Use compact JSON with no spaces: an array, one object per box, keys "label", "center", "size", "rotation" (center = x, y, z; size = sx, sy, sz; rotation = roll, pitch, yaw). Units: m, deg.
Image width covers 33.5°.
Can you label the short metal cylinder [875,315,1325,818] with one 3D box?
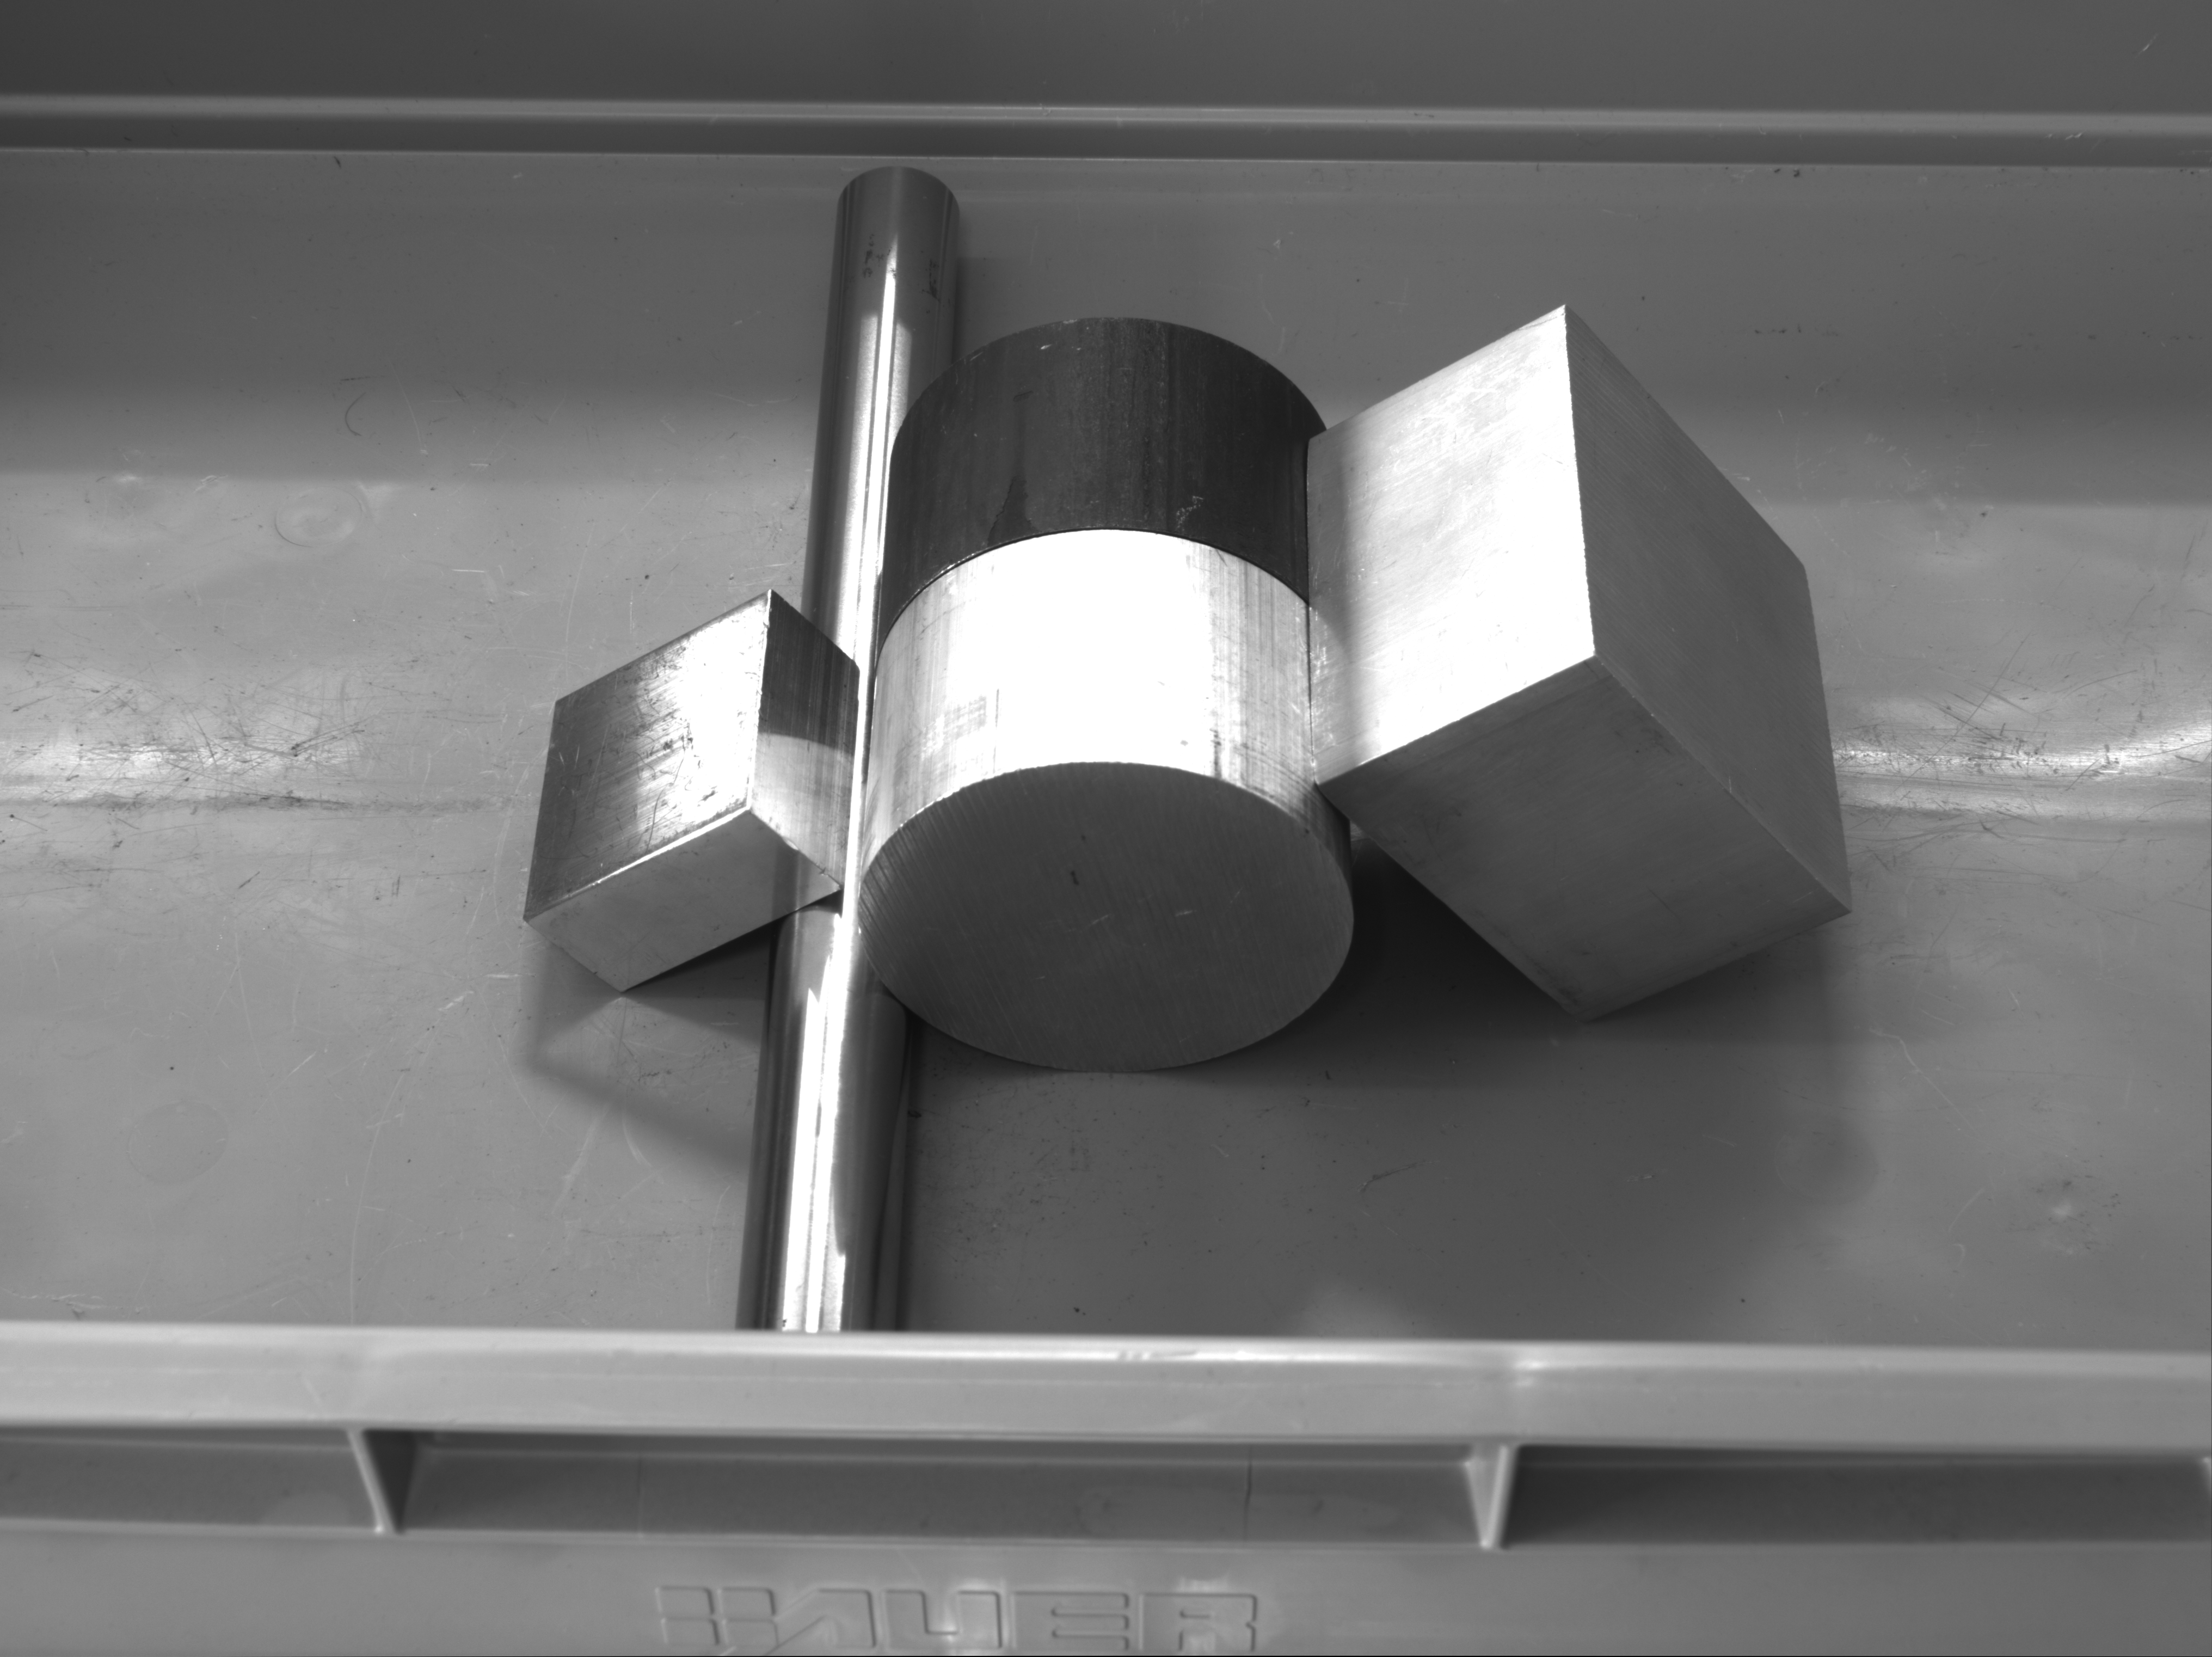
[{"label":"short metal cylinder","center":[0.001,-0.043,0.640],"size":[0.080,0.080,0.050],"rotation":[0,50,1]}]

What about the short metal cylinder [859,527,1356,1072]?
[{"label":"short metal cylinder","center":[0.001,-0.004,0.608],"size":[0.080,0.080,0.050],"rotation":[0,50,1]}]

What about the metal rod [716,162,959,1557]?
[{"label":"metal rod","center":[-0.044,-0.011,0.649],"size":[0.025,0.025,0.300],"rotation":[0,50,1]}]

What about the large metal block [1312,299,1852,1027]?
[{"label":"large metal block","center":[0.079,-0.027,0.618],"size":[0.050,0.080,0.080],"rotation":[-26,43,29]}]

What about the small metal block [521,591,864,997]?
[{"label":"small metal block","center":[-0.071,-0.006,0.631],"size":[0.050,0.025,0.050],"rotation":[-24,43,26]}]
